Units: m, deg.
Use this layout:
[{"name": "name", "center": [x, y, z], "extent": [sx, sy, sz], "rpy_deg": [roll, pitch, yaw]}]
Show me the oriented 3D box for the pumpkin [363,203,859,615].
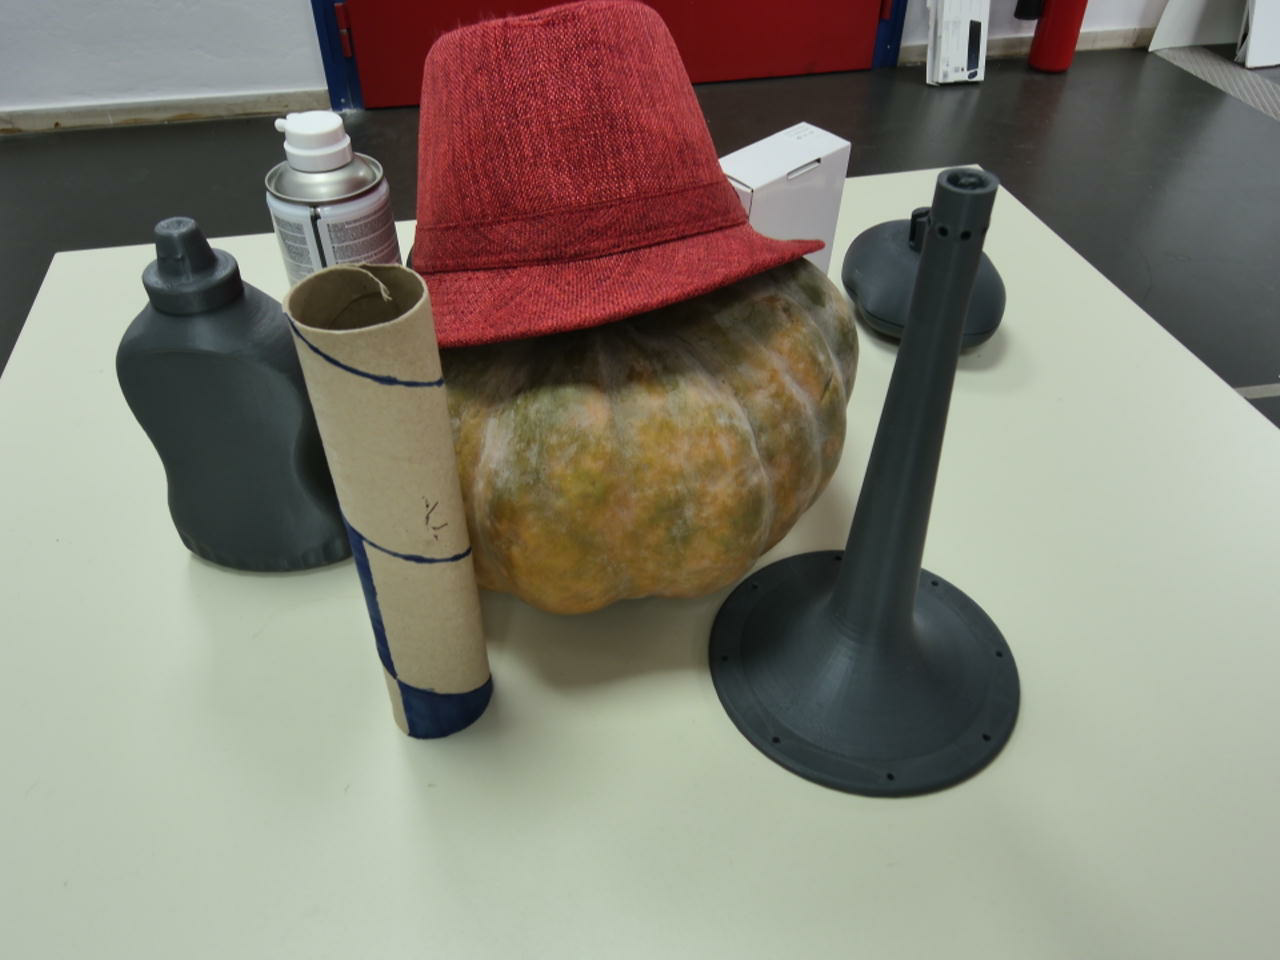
[{"name": "pumpkin", "center": [-0.020, -0.042, 0.522], "extent": [0.252, 0.169, 0.251], "rpy_deg": [0, 39, 0]}]
